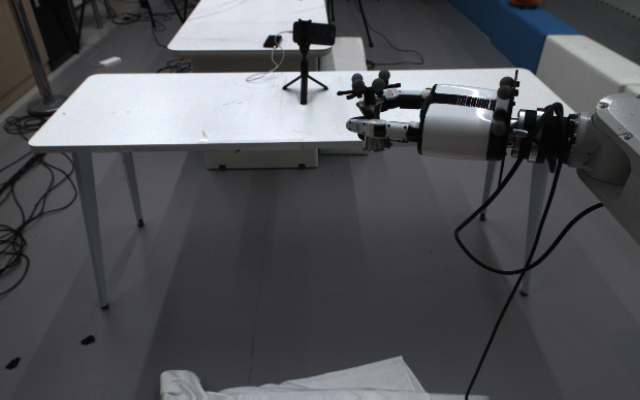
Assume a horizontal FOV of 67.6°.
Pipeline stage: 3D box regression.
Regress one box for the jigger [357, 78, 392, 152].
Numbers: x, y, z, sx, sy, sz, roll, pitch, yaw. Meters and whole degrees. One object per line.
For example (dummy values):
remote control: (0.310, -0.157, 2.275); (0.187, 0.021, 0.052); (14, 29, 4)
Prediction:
jigger: (0.078, -0.109, 0.695); (0.043, 0.071, 0.043); (-11, 23, 5)
